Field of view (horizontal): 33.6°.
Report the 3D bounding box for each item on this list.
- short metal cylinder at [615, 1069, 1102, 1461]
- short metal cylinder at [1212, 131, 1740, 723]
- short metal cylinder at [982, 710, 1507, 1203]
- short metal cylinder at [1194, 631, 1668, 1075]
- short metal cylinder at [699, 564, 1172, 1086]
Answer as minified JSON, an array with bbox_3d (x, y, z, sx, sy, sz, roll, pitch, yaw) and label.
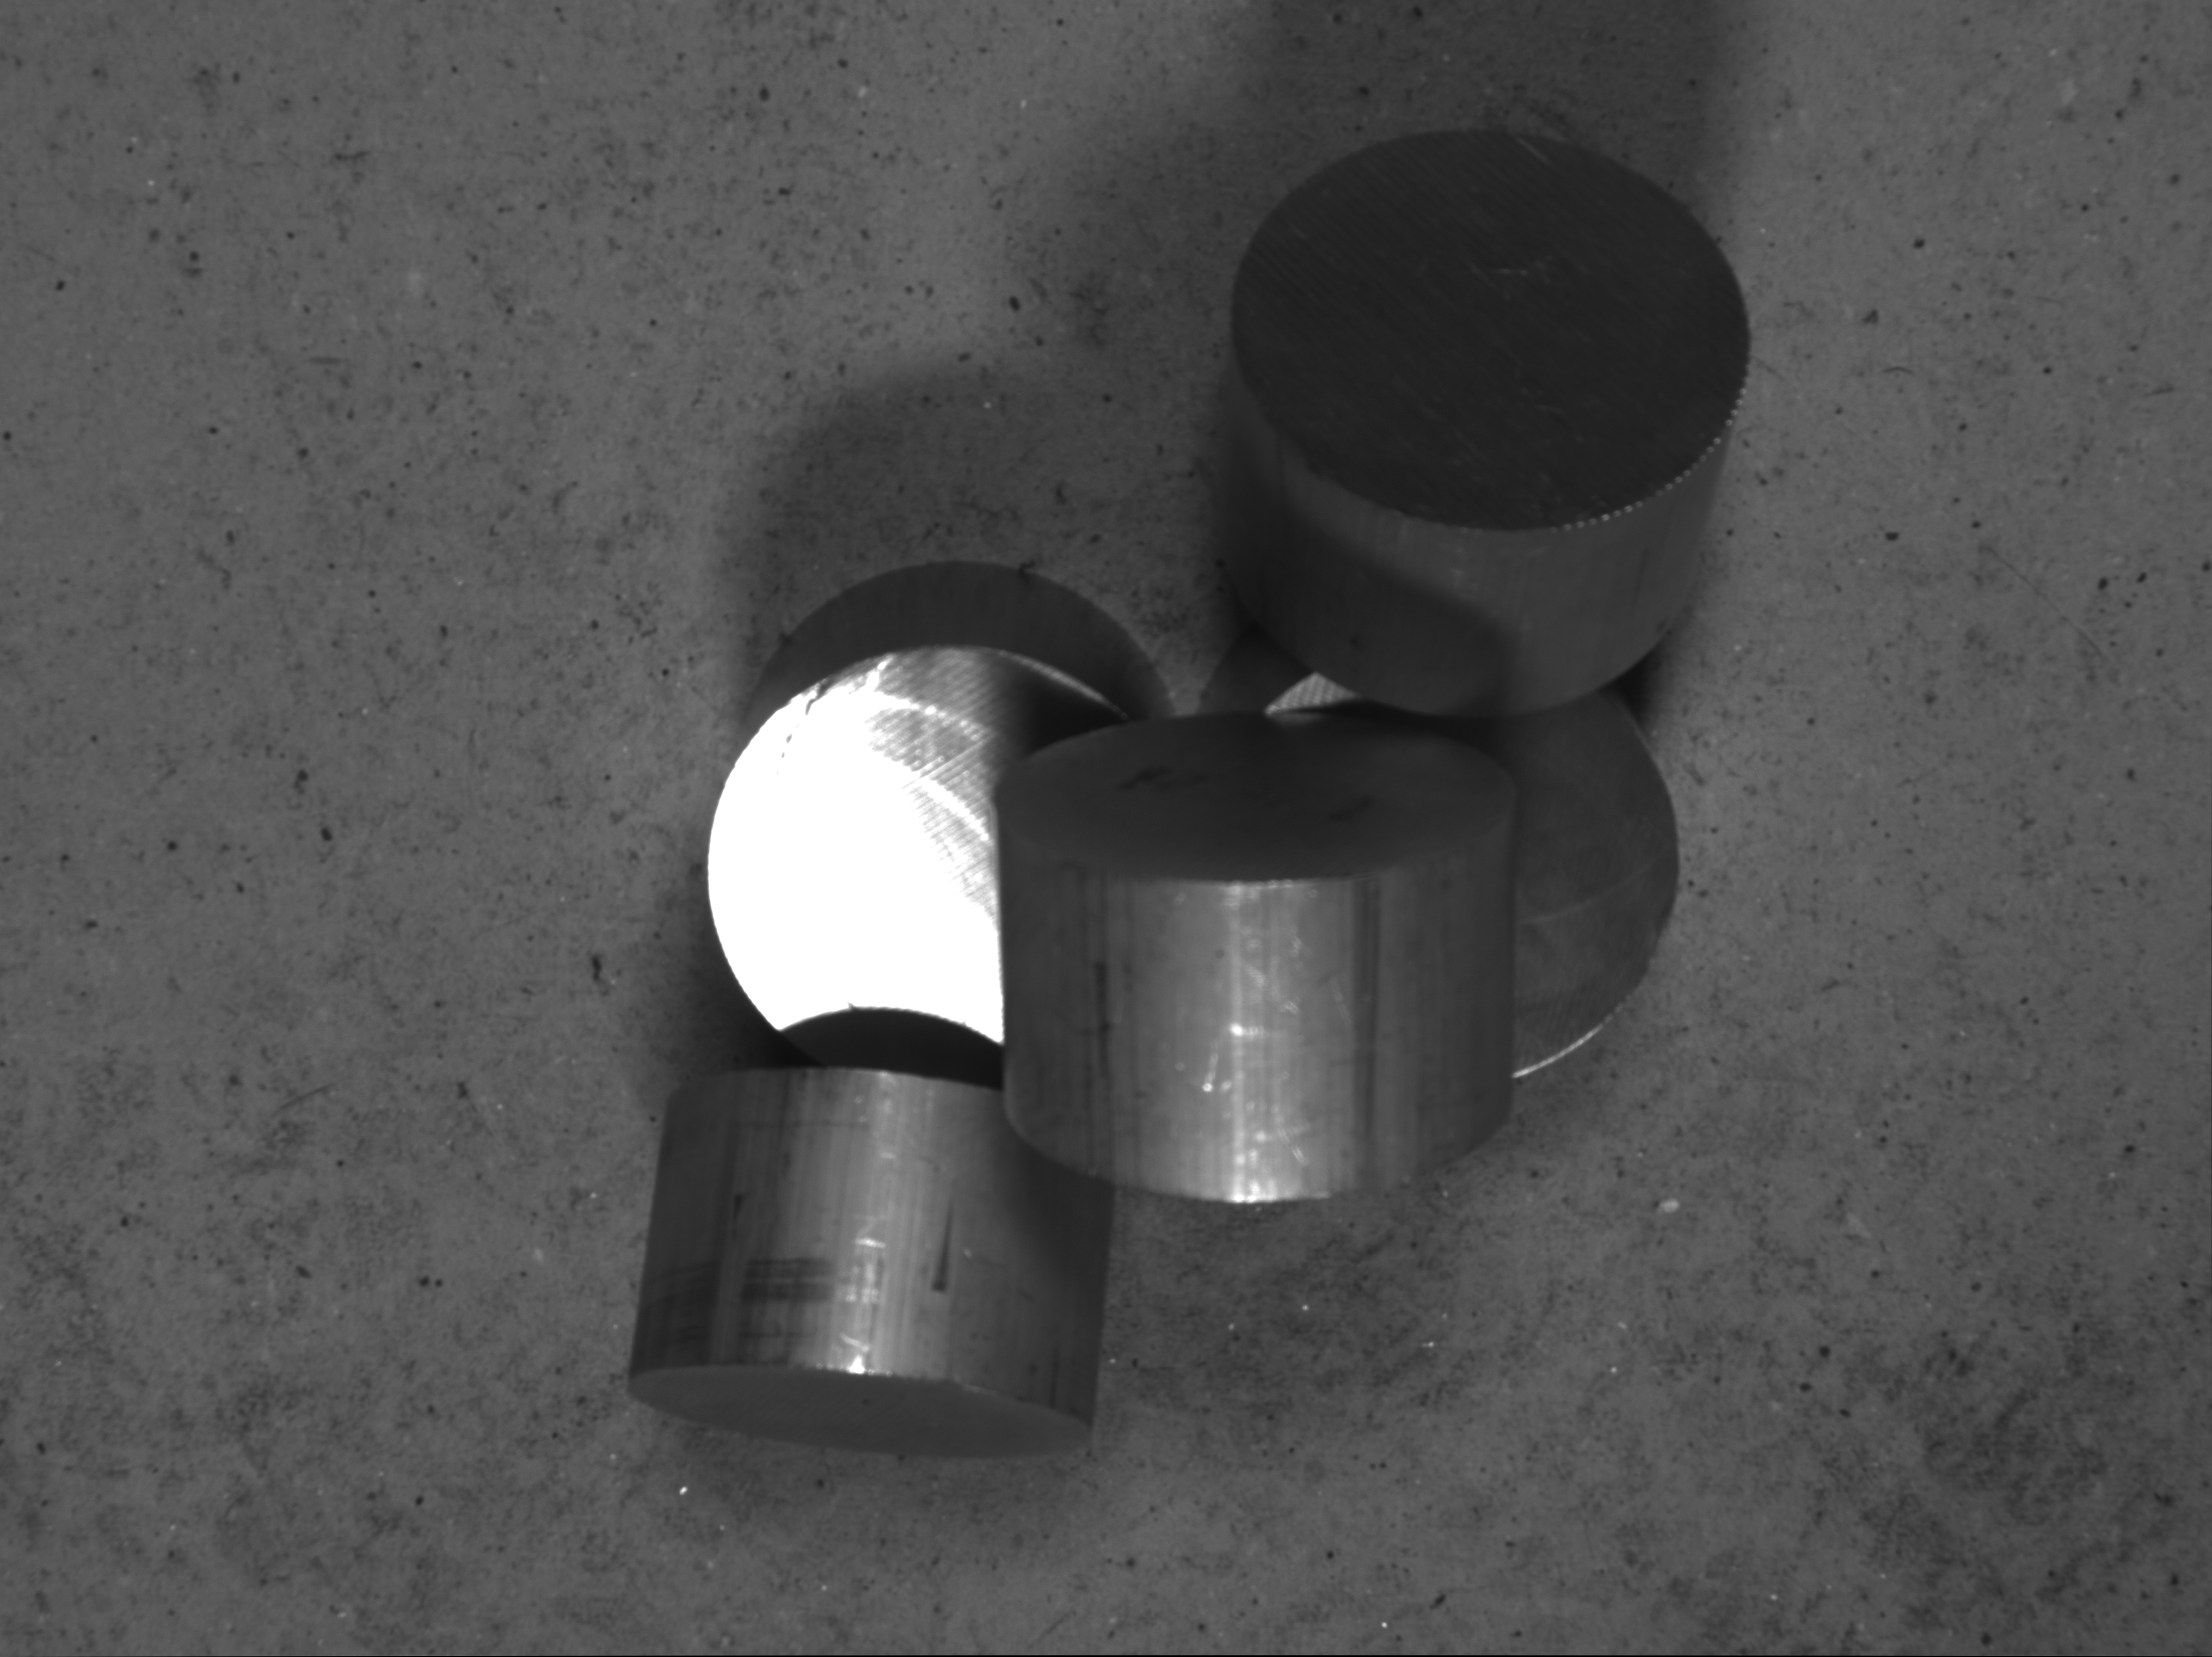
[{"bbox_3d":[-0.042,0.077,0.634,0.080,0.080,0.050,7,71,-3],"label":"short metal cylinder"},{"bbox_3d":[0.057,-0.064,0.584,0.080,0.080,0.050,1,148,-1],"label":"short metal cylinder"},{"bbox_3d":[0.022,0.018,0.567,0.080,0.080,0.050,-1,110,0],"label":"short metal cylinder"},{"bbox_3d":[0.053,-0.001,0.630,0.080,0.050,0.080,0,110,-1],"label":"short metal cylinder"},{"bbox_3d":[-0.027,0.000,0.629,0.080,0.050,0.080,0,110,-1],"label":"short metal cylinder"}]
